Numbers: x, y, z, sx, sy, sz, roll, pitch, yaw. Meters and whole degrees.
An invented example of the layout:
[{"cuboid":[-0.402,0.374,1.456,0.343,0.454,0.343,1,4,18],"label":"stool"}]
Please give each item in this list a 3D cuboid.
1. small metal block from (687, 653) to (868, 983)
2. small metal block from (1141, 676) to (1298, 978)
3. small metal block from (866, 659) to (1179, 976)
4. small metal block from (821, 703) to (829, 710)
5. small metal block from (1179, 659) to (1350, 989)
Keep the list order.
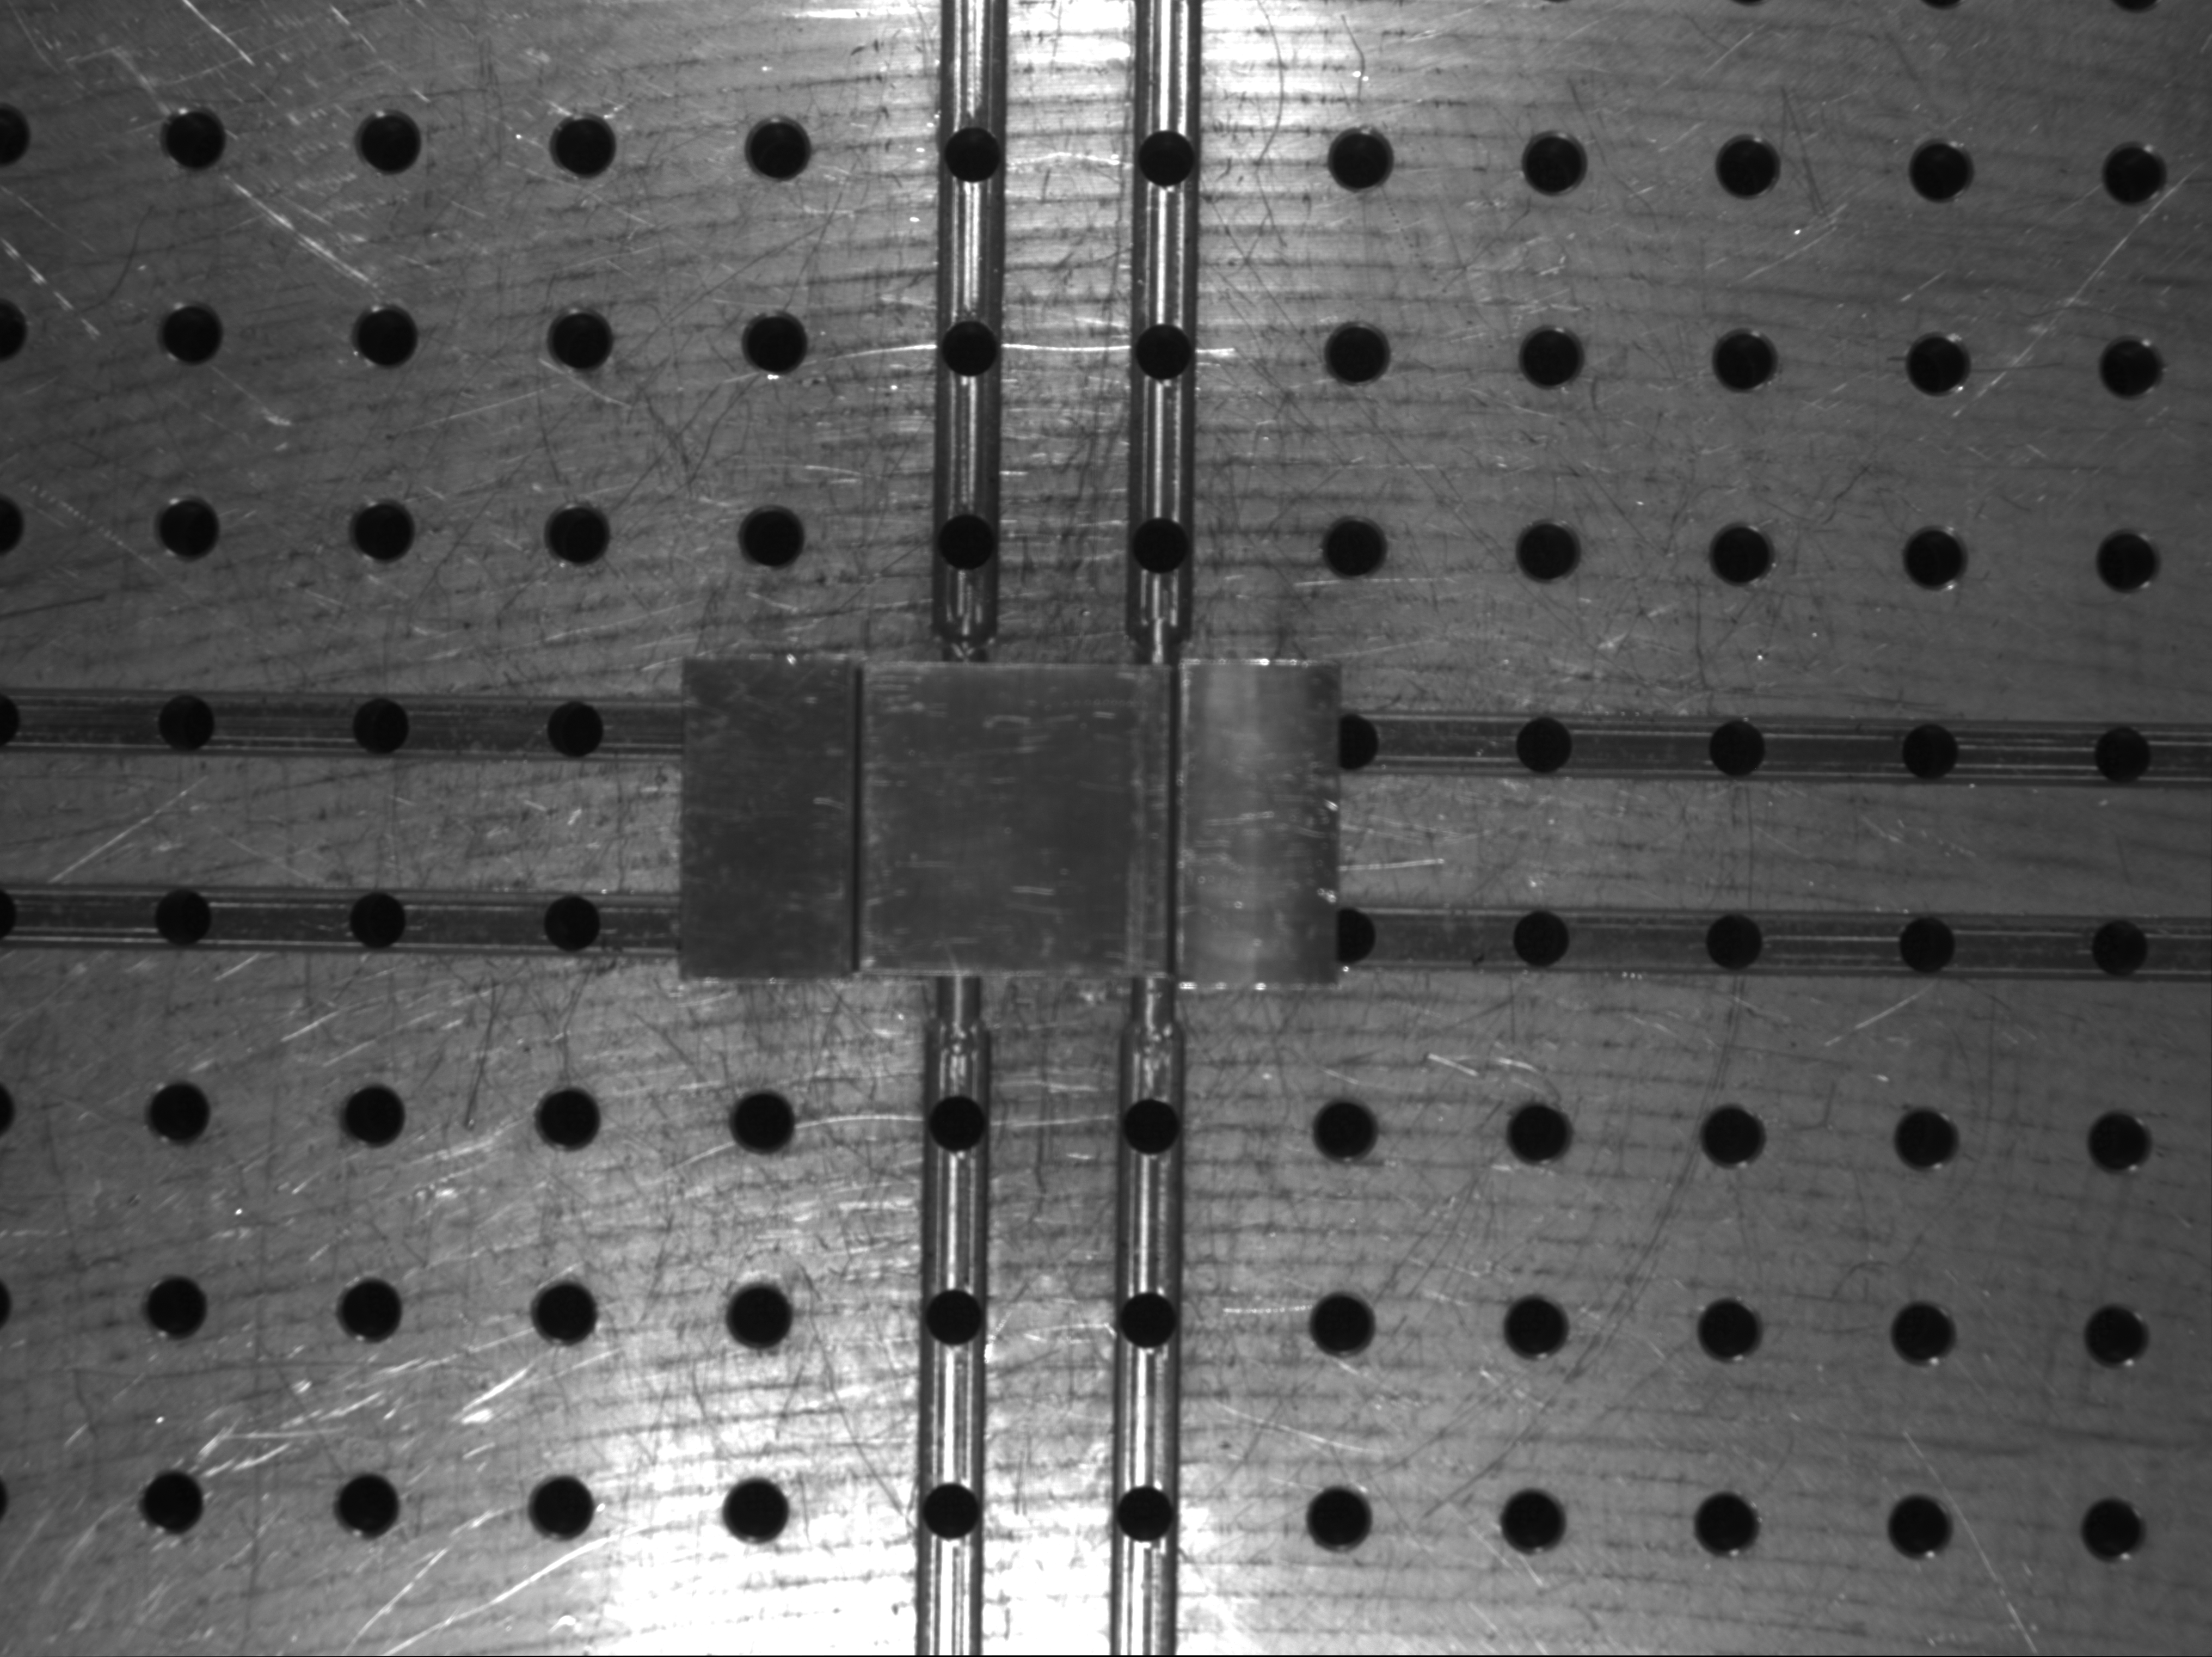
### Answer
[{"cuboid":[-0.051,-0.001,0.584,0.025,0.050,0.050,1,89,0],"label":"small metal block"},{"cuboid":[0.019,0.000,0.635,0.025,0.050,0.050,-1,90,0],"label":"small metal block"},{"cuboid":[-0.014,-0.002,0.598,0.050,0.025,0.050,1,90,0],"label":"small metal block"},{"cuboid":[-0.046,-0.001,0.634,0.025,0.050,0.050,1,90,0],"label":"small metal block"},{"cuboid":[0.024,0.000,0.584,0.025,0.050,0.050,1,89,0],"label":"small metal block"}]
